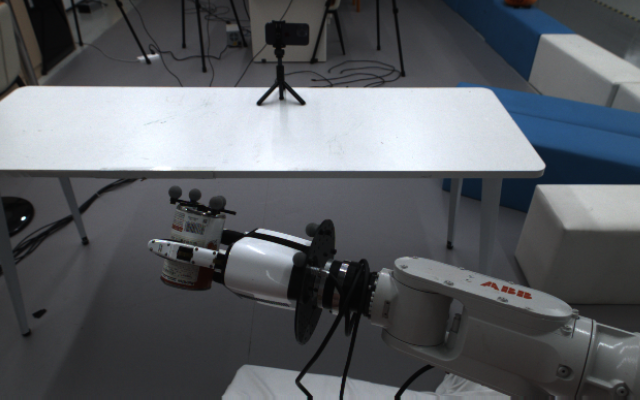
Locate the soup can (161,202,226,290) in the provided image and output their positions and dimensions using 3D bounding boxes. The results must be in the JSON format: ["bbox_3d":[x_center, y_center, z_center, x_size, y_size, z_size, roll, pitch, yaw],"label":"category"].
[{"bbox_3d":[-0.167,0.064,0.646,0.067,0.101,0.067,13,1,0],"label":"soup can"}]
